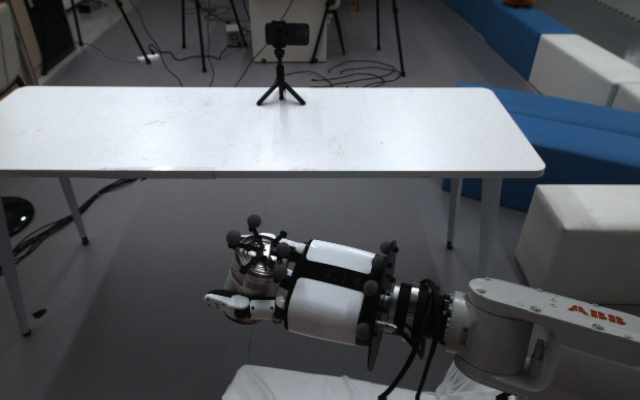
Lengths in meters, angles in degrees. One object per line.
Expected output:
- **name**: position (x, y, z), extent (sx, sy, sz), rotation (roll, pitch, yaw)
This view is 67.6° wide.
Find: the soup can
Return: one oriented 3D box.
- **soup can**: position (-0.082, 0.102, 0.612), extent (0.067, 0.101, 0.067), rotation (14, 40, -12)
